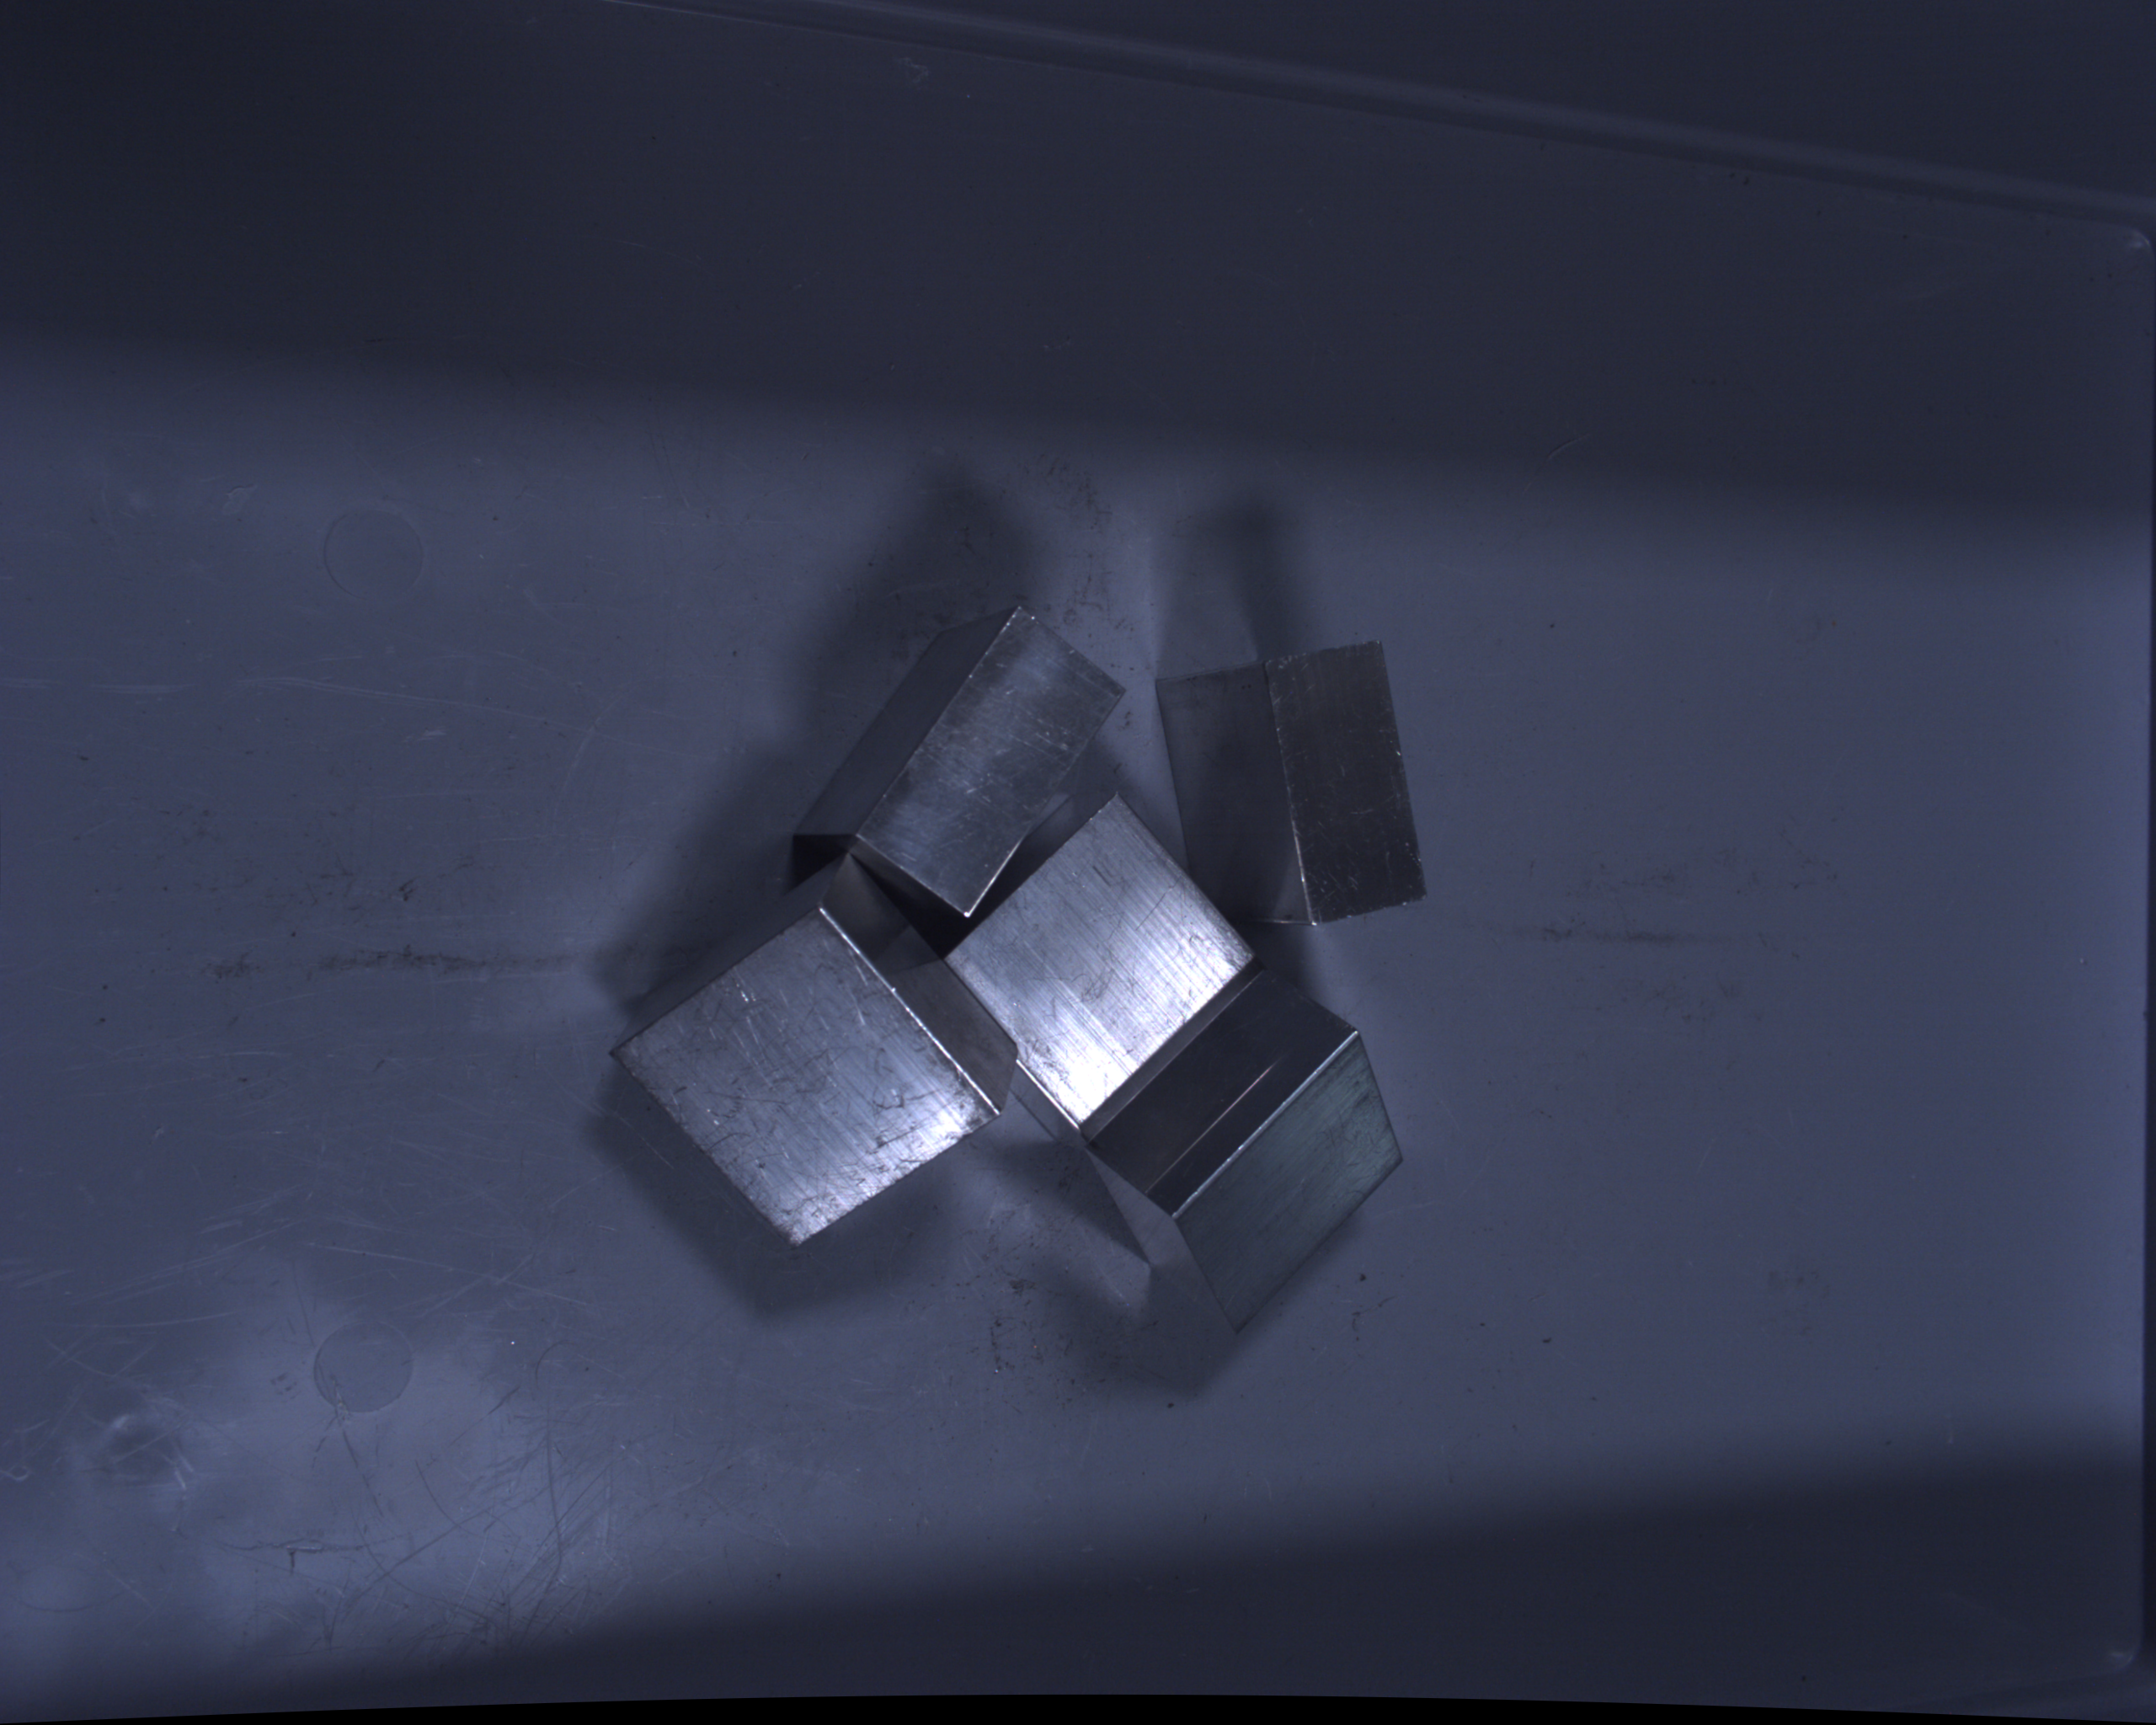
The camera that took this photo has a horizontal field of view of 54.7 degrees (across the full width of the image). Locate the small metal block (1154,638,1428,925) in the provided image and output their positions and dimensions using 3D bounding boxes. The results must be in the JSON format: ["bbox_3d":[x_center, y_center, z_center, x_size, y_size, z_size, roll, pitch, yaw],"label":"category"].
[{"bbox_3d":[0.041,-0.015,0.411,0.025,0.050,0.050,-12,94,-21],"label":"small metal block"}]

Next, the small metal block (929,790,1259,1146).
[{"bbox_3d":[0.001,0.021,0.410,0.050,0.025,0.050,-44,104,-15],"label":"small metal block"}]

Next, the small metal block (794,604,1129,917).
[{"bbox_3d":[-0.023,-0.018,0.387,0.025,0.050,0.050,38,78,-16],"label":"small metal block"}]

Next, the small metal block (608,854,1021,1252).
[{"bbox_3d":[-0.047,0.035,0.380,0.050,0.025,0.050,-35,104,17],"label":"small metal block"}]

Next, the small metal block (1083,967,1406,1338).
[{"bbox_3d":[0.034,0.057,0.409,0.050,0.025,0.050,-43,141,-15],"label":"small metal block"}]
